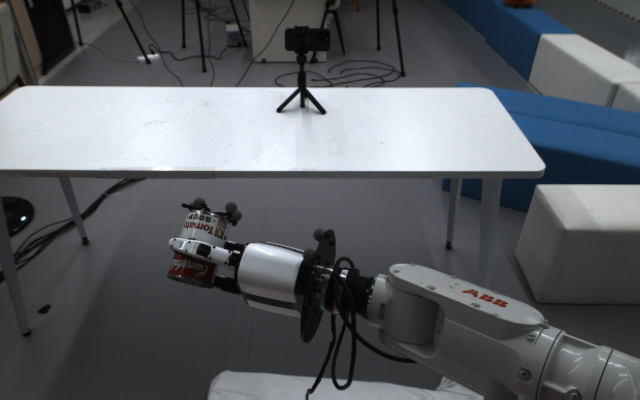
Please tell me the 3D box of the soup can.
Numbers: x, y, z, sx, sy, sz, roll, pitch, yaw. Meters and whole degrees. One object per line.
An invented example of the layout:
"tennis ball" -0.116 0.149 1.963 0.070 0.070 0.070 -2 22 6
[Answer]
"soup can" -0.178 0.075 0.715 0.067 0.067 0.101 9 72 10
